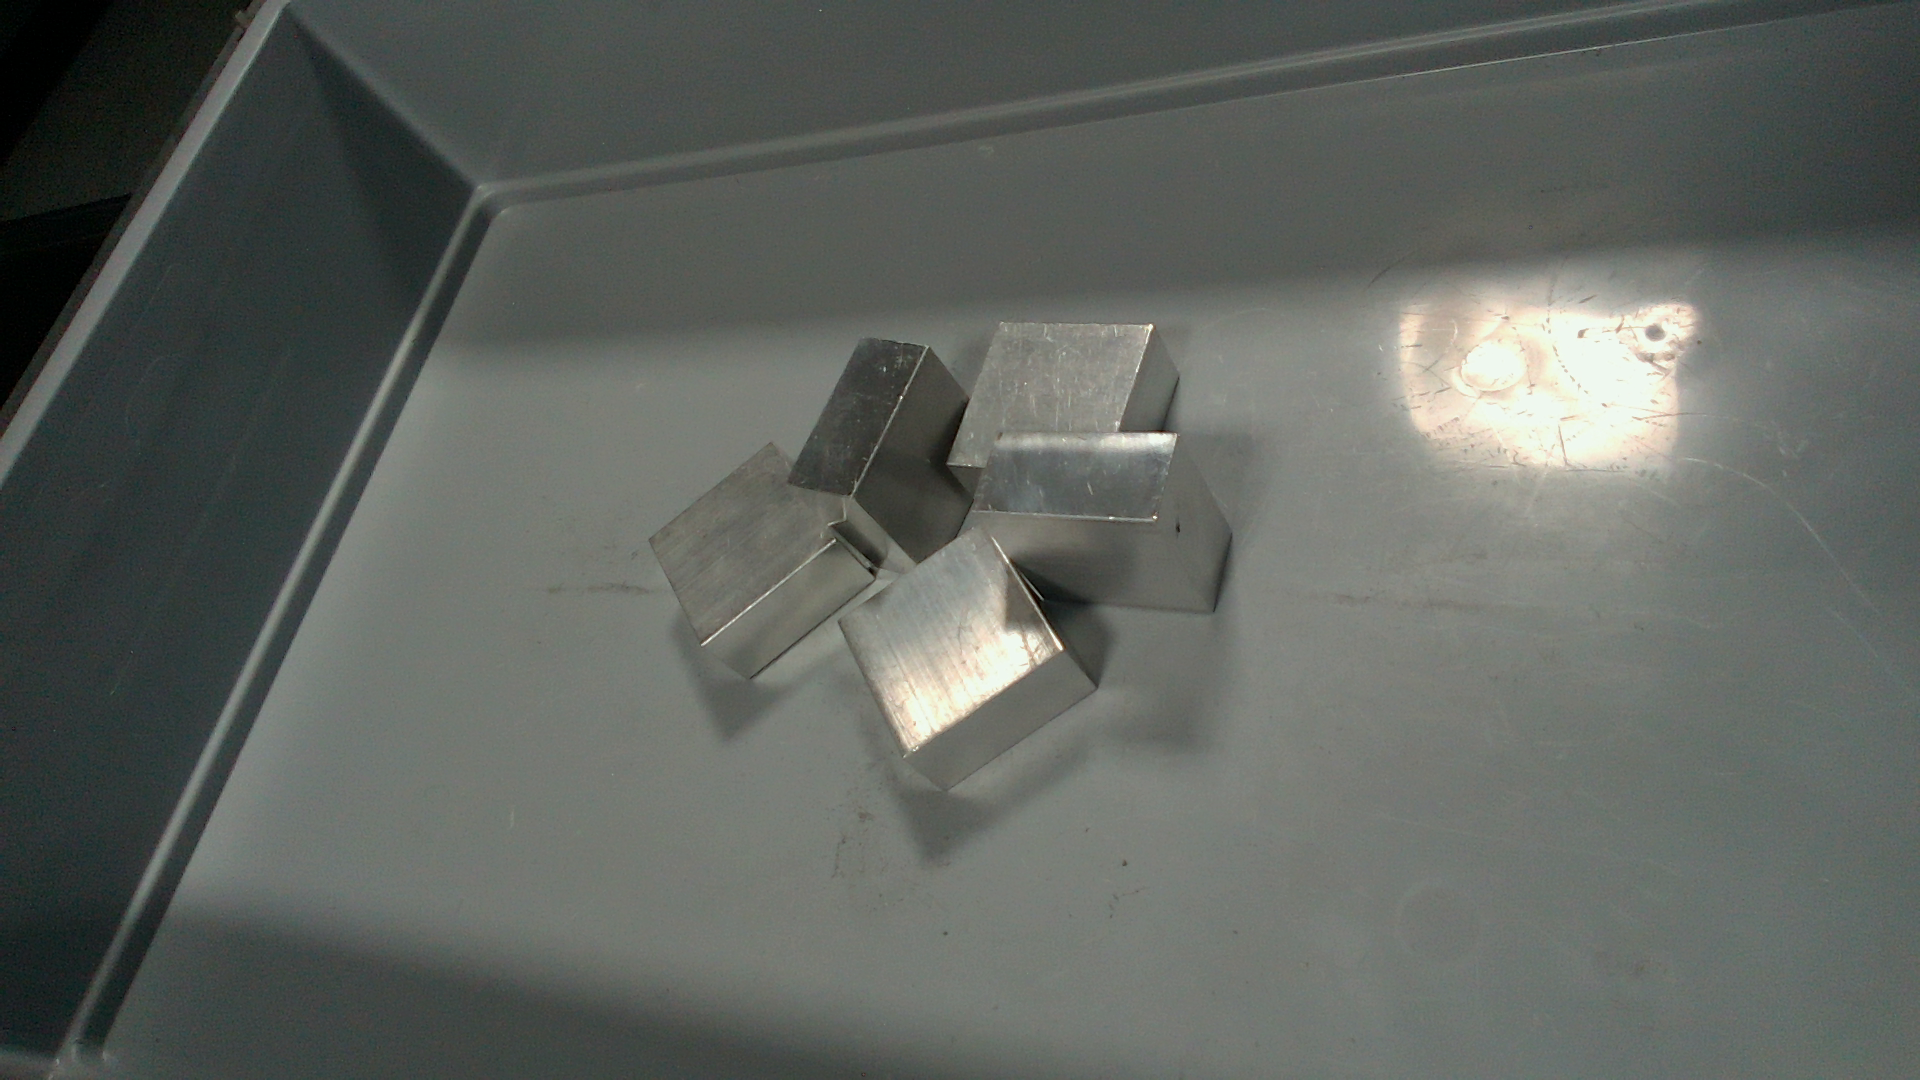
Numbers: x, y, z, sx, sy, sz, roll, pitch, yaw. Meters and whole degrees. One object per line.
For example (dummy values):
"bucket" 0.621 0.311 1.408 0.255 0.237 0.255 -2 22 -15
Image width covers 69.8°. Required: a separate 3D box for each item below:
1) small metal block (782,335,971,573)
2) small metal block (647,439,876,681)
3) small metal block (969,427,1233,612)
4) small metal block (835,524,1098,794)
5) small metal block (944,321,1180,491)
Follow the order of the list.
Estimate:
"small metal block" -0.018 -0.023 0.399 0.025 0.050 0.050 13 68 34
"small metal block" -0.062 0.006 0.422 0.050 0.025 0.050 -39 51 2
"small metal block" 0.038 -0.005 0.358 0.050 0.050 0.025 3 63 30
"small metal block" 0.001 0.031 0.372 0.050 0.025 0.050 -35 51 5
"small metal block" 0.030 -0.035 0.398 0.050 0.025 0.050 6 65 31
